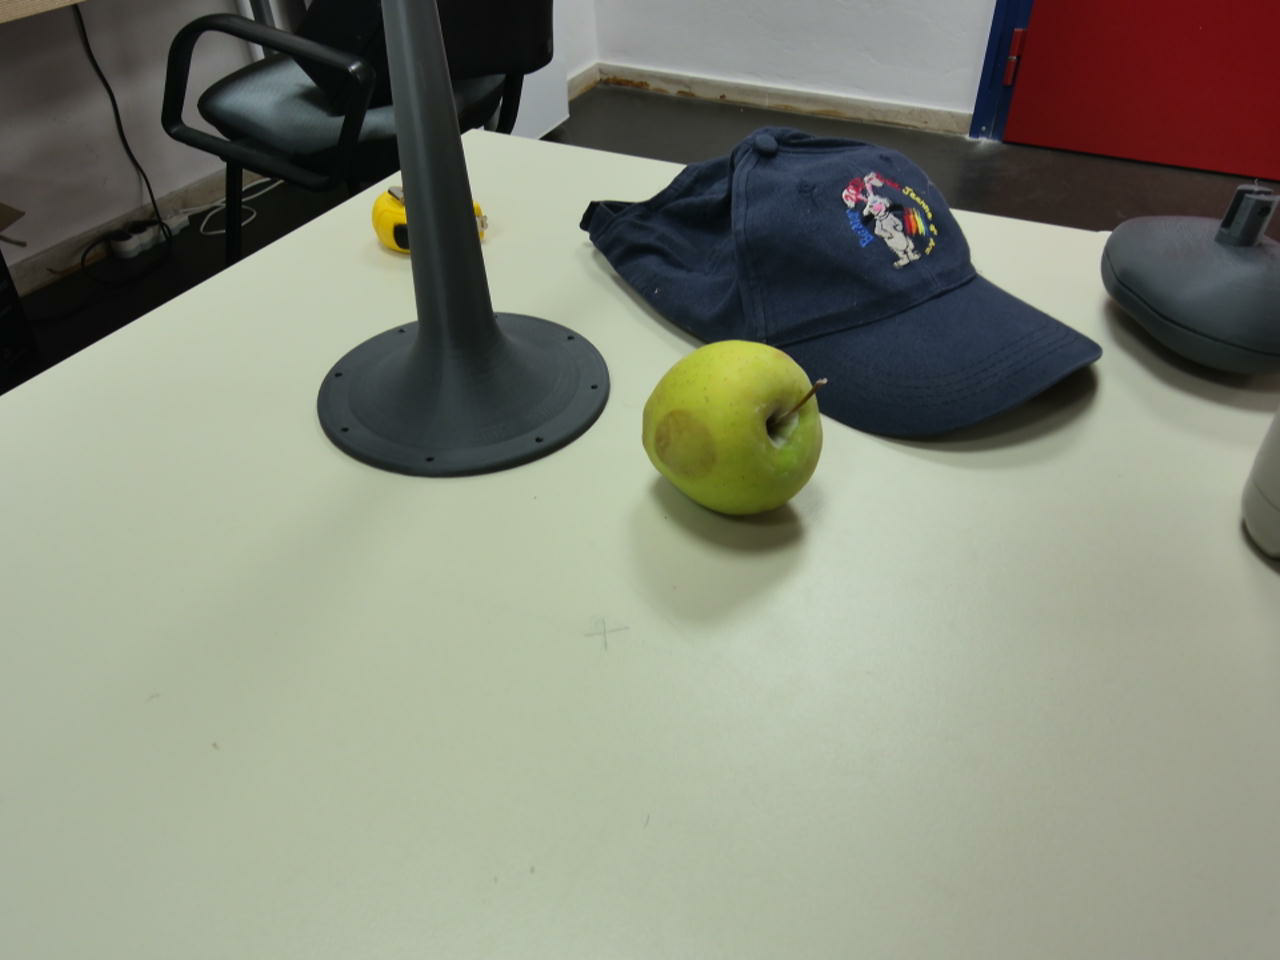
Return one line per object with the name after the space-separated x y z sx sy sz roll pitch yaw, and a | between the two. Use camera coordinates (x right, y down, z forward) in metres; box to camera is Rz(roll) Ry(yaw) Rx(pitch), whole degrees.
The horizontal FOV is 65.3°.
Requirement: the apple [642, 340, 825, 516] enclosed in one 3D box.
0.040 -0.024 0.428 0.072 0.075 0.077 -11 39 -15 | apple
